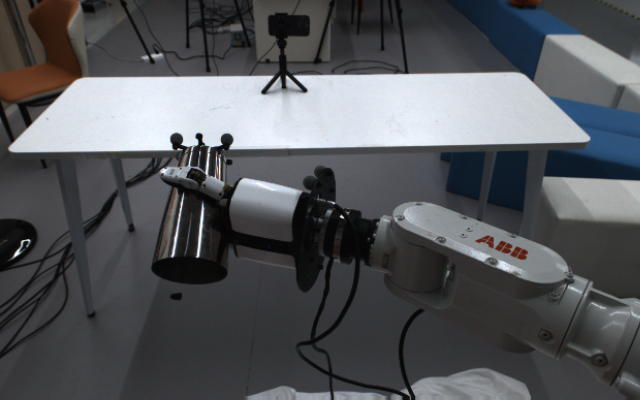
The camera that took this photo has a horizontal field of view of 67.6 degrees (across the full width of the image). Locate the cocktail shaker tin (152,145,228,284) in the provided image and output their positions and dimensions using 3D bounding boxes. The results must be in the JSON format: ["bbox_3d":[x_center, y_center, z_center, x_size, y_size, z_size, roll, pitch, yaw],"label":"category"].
[{"bbox_3d":[-0.164,0.015,0.635,0.093,0.093,0.170,0,59,-3],"label":"cocktail shaker tin"}]
